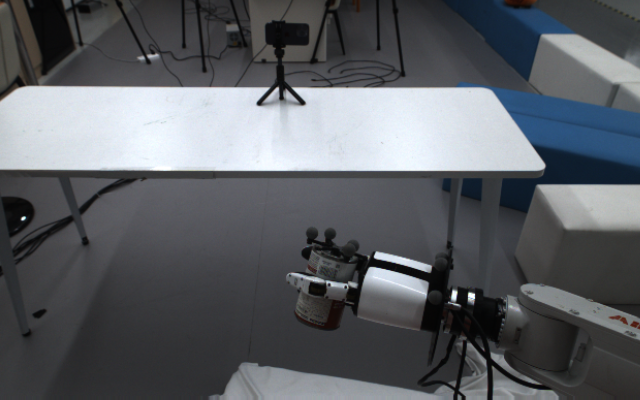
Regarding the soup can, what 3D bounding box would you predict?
[{"bbox_3d":[0.010,0.121,0.674,0.067,0.101,0.067,15,7,-2],"label":"soup can"}]
